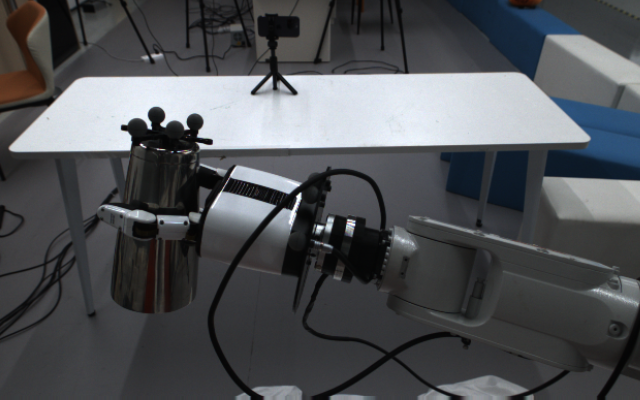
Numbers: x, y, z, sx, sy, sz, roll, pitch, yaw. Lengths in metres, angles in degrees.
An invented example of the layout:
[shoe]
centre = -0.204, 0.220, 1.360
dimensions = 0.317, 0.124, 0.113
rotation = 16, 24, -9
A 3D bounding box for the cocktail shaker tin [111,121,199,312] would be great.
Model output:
[cocktail shaker tin]
centre = -0.167, 0.023, 0.513
dimensions = 0.093, 0.170, 0.093
rotation = 10, 19, -3
